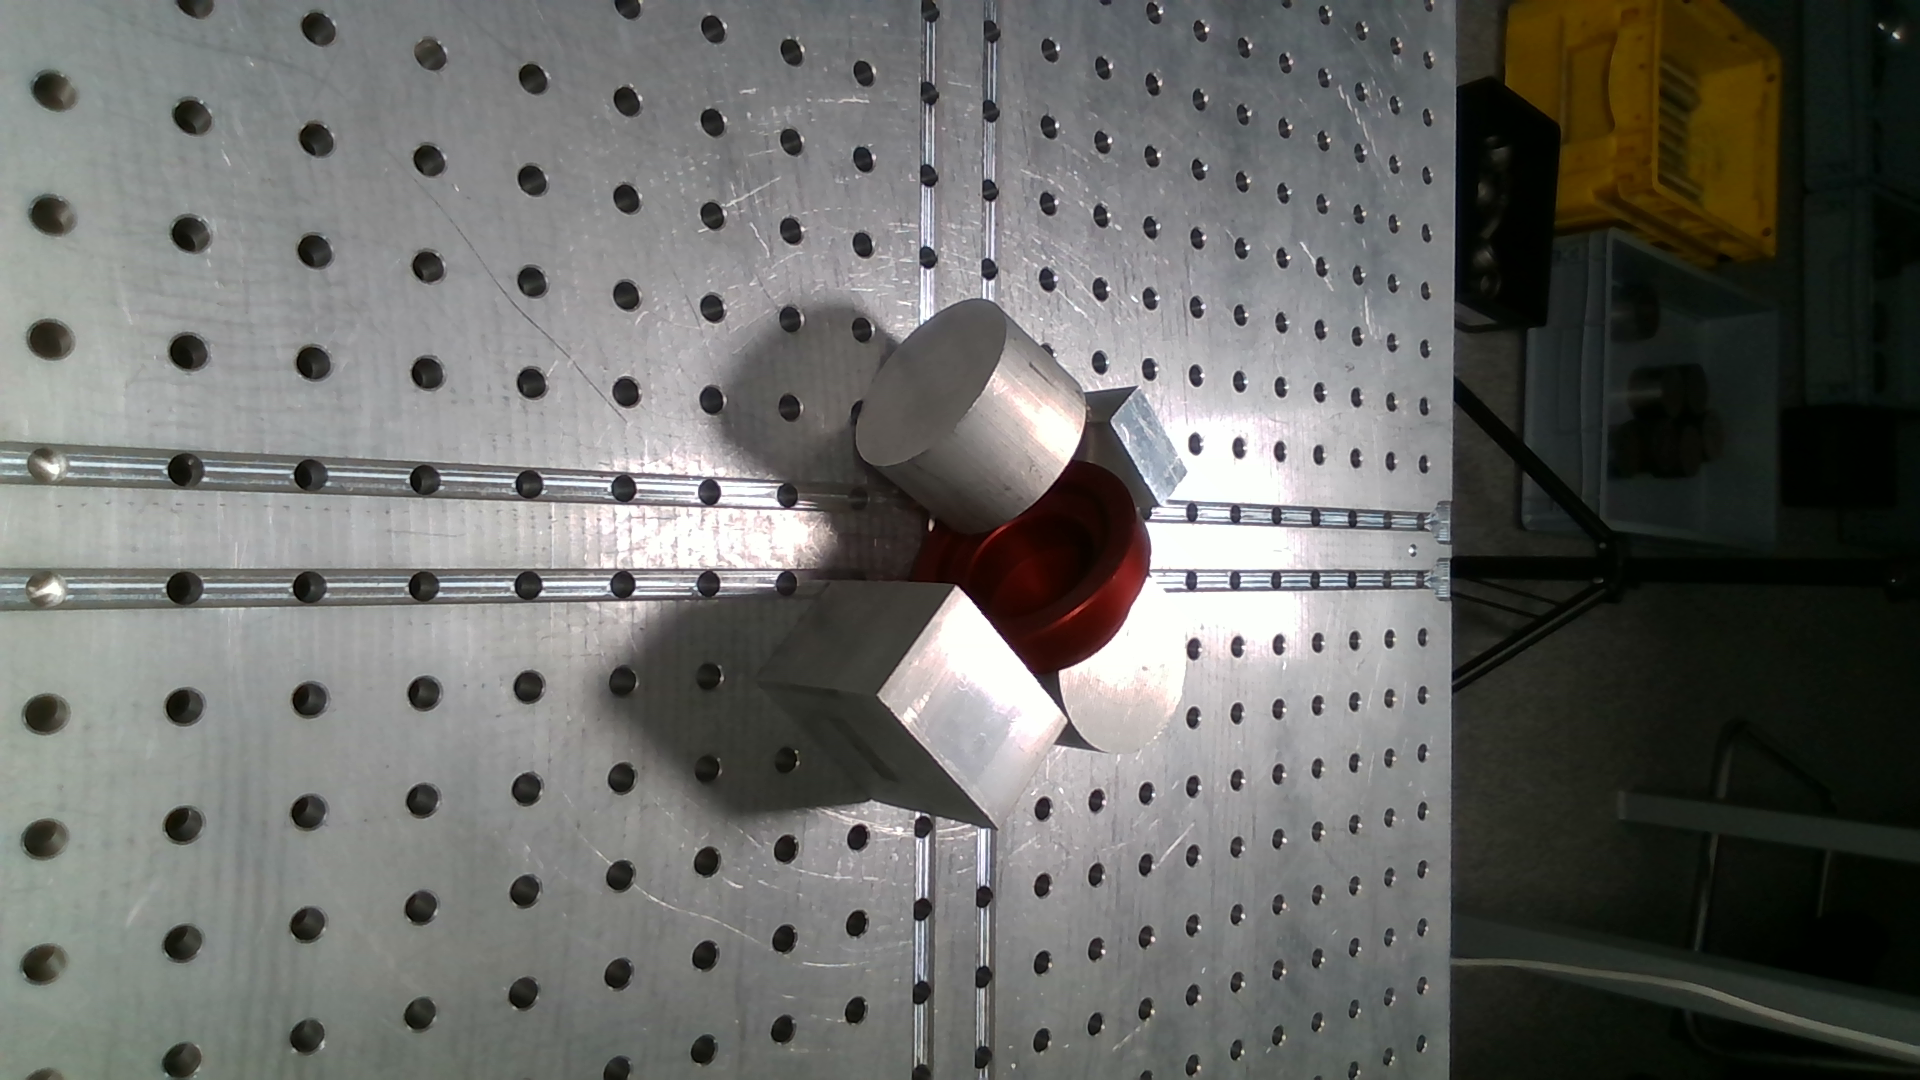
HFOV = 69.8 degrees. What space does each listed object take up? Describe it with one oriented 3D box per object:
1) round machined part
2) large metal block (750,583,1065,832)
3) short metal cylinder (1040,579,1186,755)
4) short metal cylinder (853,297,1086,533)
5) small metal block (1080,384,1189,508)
[{"bbox_3d":[0.033,0.016,0.567,0.098,0.098,0.042,-56,135,-25],"label":"round machined part"},{"bbox_3d":[-0.020,0.063,0.534,0.080,0.080,0.050,51,60,-28],"label":"large metal block"},{"bbox_3d":[0.056,0.053,0.616,0.080,0.050,0.080,0,90,-40],"label":"short metal cylinder"},{"bbox_3d":[0.003,-0.050,0.553,0.050,0.080,0.080,38,67,-34],"label":"short metal cylinder"},{"bbox_3d":[0.068,-0.041,0.627,0.025,0.050,0.050,-50,120,-29],"label":"small metal block"}]
